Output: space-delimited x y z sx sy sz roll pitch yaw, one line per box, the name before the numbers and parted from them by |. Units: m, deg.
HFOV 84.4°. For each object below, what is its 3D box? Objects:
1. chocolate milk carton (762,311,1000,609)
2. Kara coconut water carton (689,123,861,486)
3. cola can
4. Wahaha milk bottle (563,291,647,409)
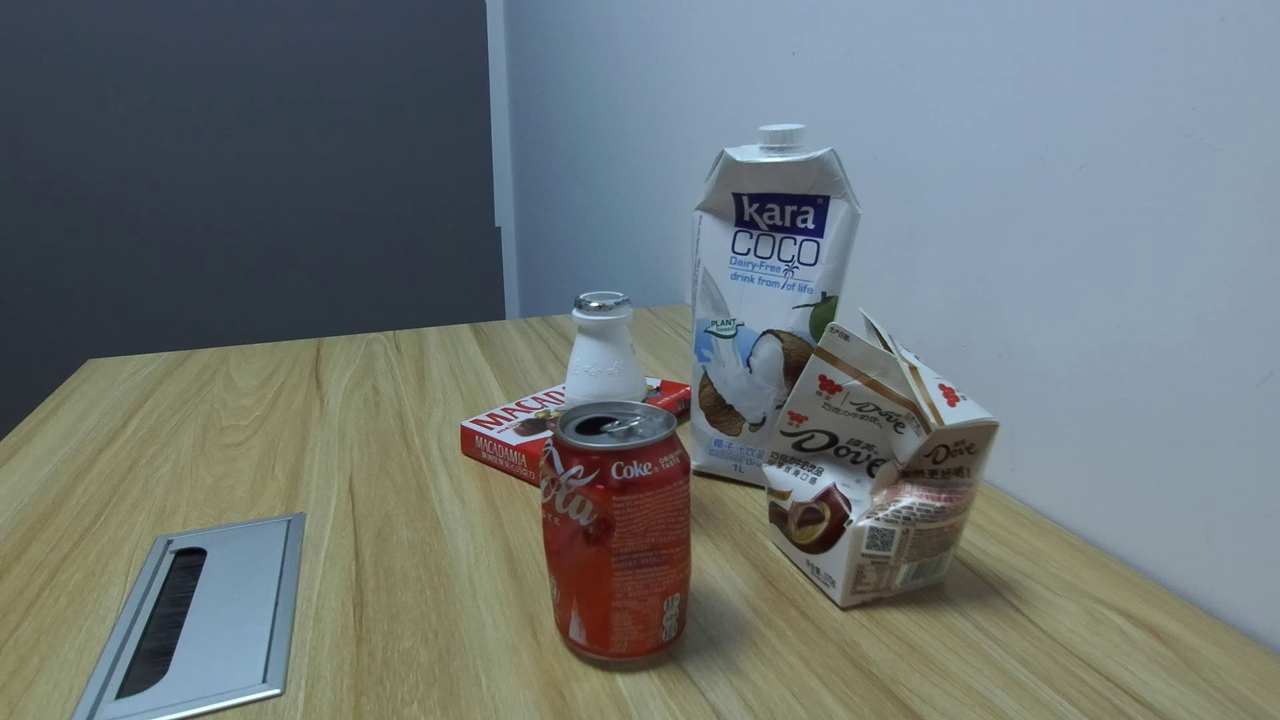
chocolate milk carton | 0.123 0.053 0.373 0.077 0.155 0.089 -13 38 -21
Kara coconut water carton | 0.083 -0.035 0.476 0.115 0.238 0.069 11 20 22
cola can | -0.009 0.081 0.338 0.067 0.117 0.065 -8 19 -24
Wahaha milk bottle | -0.016 0.033 0.419 0.056 0.148 0.056 -3 19 1
